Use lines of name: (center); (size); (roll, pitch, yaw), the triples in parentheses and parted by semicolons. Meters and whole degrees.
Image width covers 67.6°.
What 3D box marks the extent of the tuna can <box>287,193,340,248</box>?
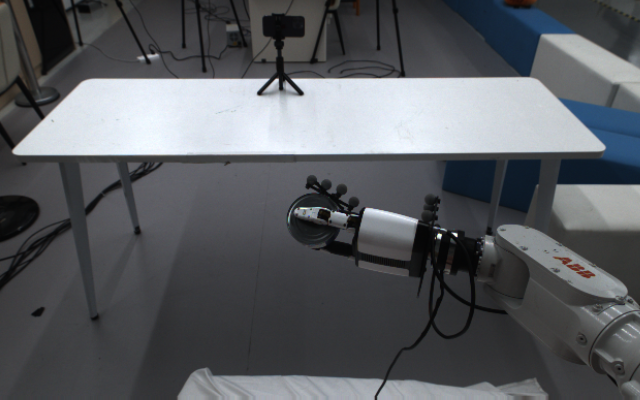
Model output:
tuna can: (-0.008, 0.034, 0.777); (0.085, 0.034, 0.085); (-2, 71, 6)
